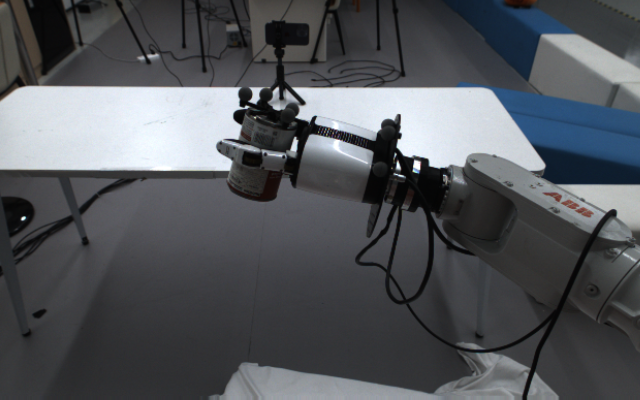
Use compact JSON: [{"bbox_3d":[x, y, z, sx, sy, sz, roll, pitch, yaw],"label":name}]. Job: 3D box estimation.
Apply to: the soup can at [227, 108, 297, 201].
[{"bbox_3d":[-0.073,-0.057,0.613,0.067,0.101,0.067,17,21,-7],"label":"soup can"}]
